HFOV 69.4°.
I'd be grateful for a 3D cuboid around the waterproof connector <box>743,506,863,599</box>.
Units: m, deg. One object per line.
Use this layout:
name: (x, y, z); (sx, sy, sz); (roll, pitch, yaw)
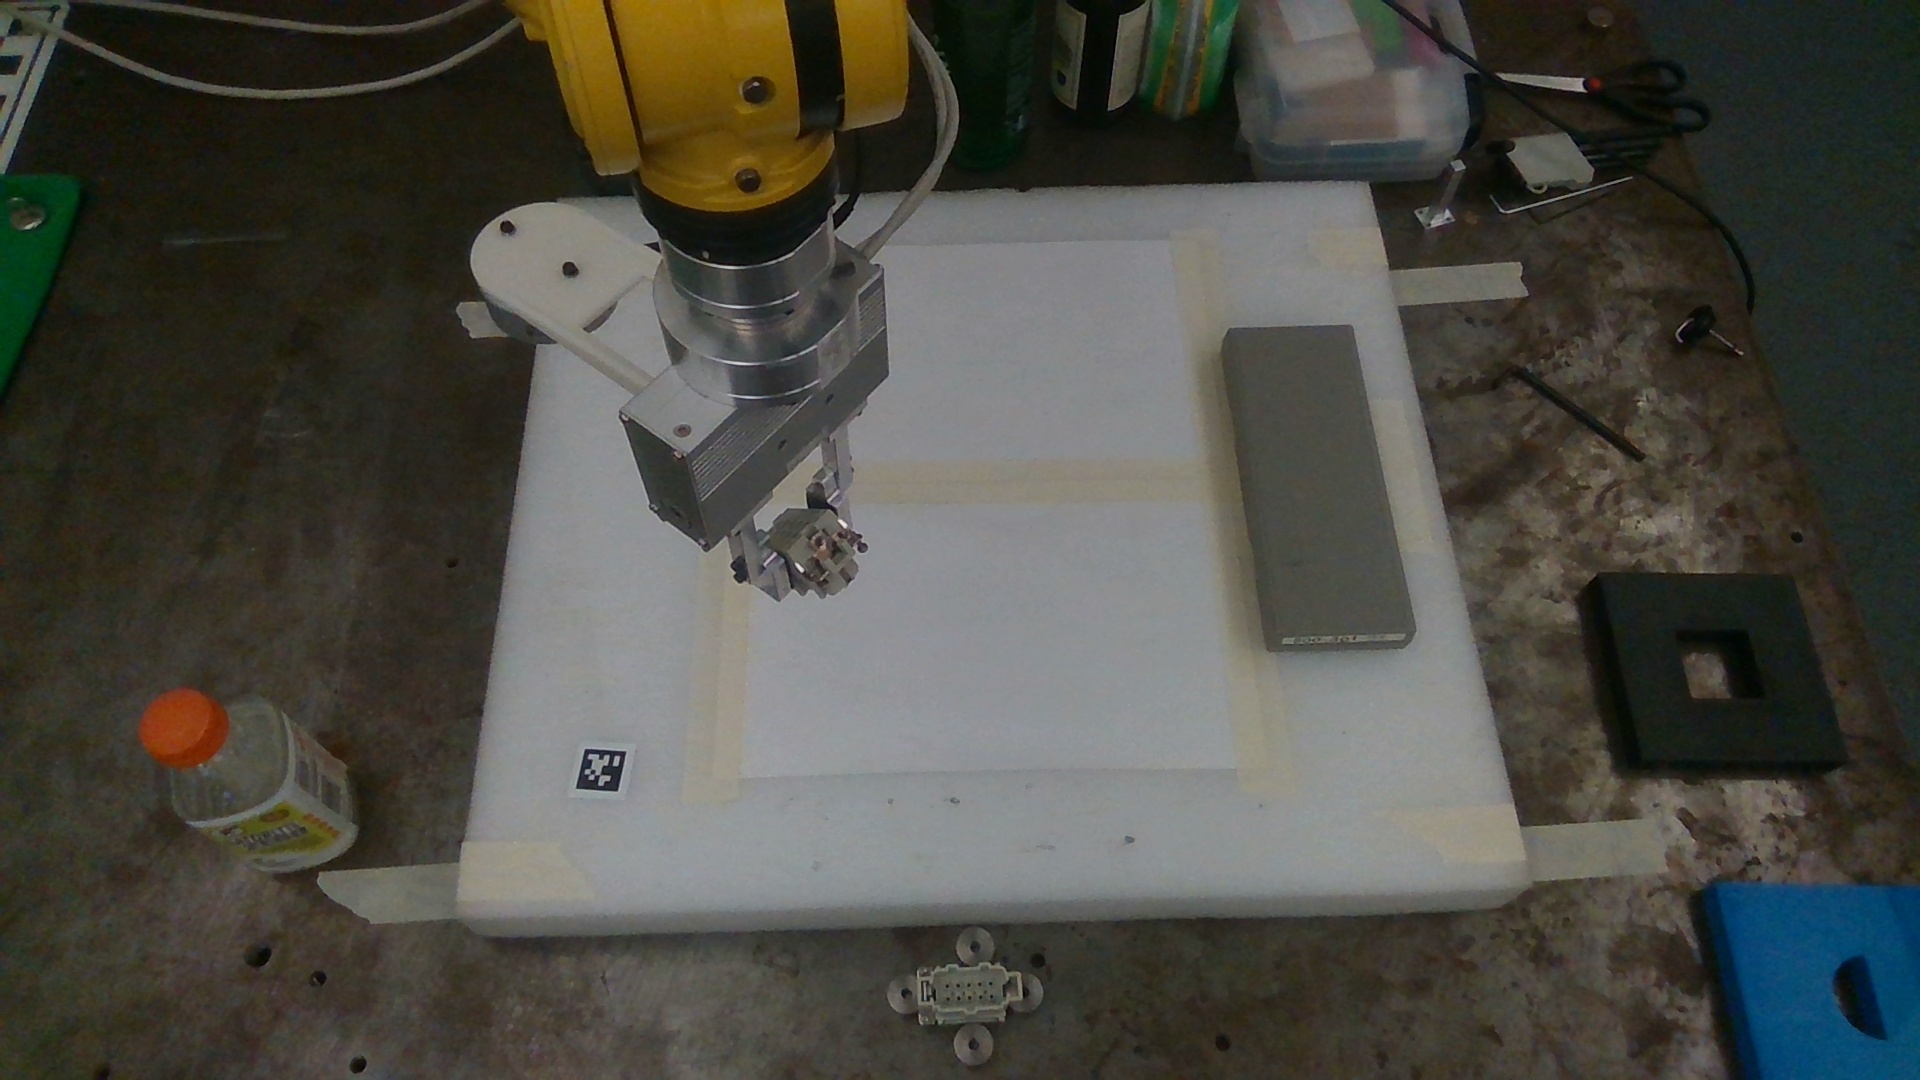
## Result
waterproof connector: (-0.079, 0.007, 0.714); (0.069, 0.038, 0.036); (0, 43, 50)
